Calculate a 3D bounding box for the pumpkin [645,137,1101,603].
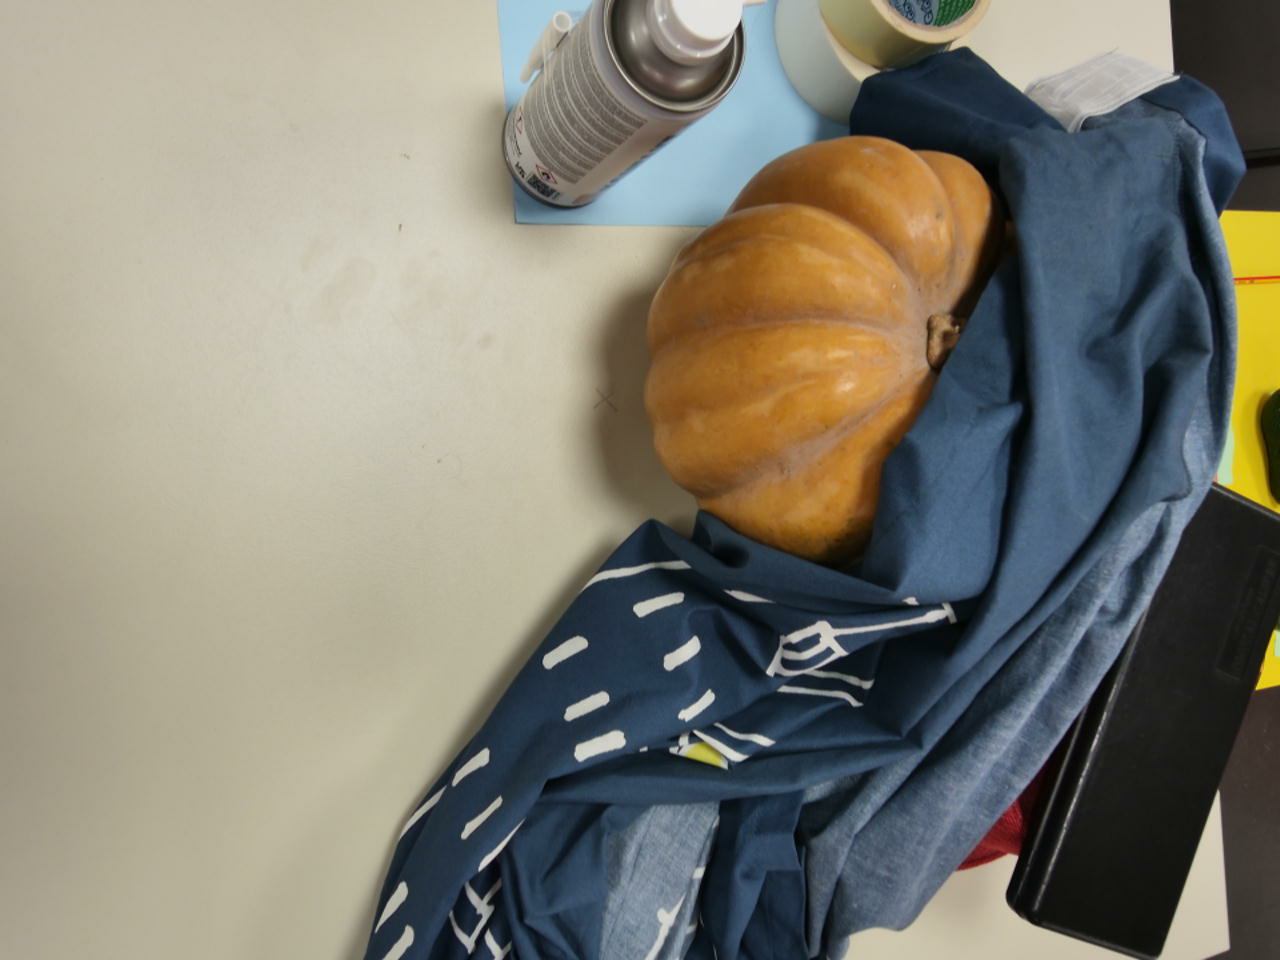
[{"bbox_3d":[0.111,-0.051,0.508,0.230,0.194,0.230,0,91,-22],"label":"pumpkin"}]
